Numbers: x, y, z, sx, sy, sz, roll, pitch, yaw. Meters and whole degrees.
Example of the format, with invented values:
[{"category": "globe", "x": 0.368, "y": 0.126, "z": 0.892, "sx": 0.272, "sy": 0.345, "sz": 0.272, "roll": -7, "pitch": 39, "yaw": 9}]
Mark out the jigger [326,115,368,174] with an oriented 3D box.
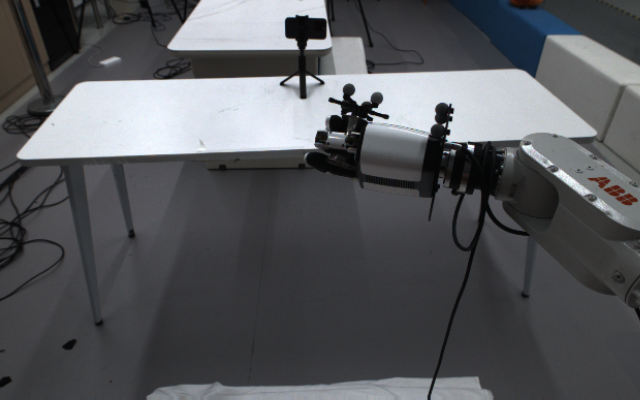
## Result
[{"category": "jigger", "x": 0.040, "y": -0.083, "z": 0.682, "sx": 0.043, "sy": 0.071, "sz": 0.043, "roll": 18, "pitch": -6, "yaw": 2}]
